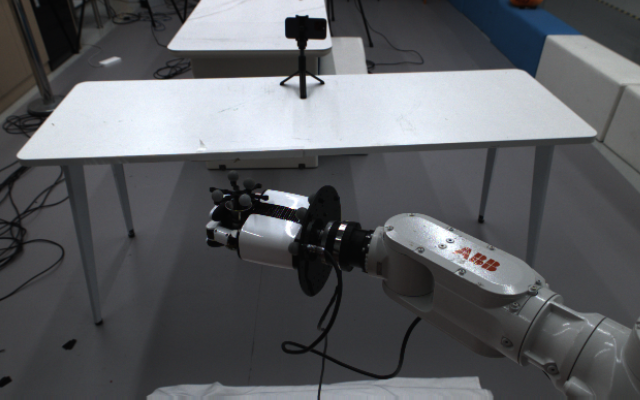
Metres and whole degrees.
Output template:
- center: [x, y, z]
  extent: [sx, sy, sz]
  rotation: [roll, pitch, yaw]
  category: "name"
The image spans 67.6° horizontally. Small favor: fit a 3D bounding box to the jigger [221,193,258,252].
- center: [-0.121, 0.037, 0.728]
  extent: [0.043, 0.071, 0.043]
  rotation: [5, 26, -3]
  category: "jigger"
